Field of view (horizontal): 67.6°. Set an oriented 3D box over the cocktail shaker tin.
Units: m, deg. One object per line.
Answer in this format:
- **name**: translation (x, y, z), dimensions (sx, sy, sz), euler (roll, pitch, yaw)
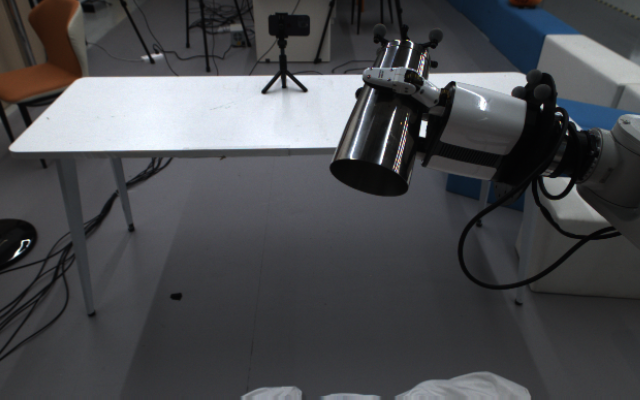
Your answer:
- **cocktail shaker tin**: translation (0.079, -0.101, 0.569), dimensions (0.093, 0.093, 0.170), euler (13, 70, 15)
